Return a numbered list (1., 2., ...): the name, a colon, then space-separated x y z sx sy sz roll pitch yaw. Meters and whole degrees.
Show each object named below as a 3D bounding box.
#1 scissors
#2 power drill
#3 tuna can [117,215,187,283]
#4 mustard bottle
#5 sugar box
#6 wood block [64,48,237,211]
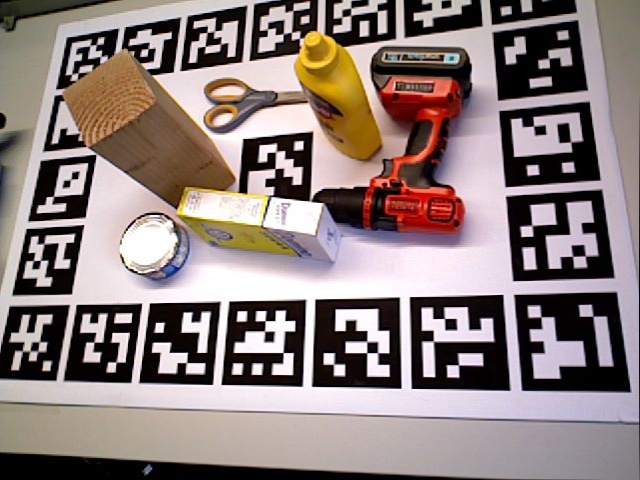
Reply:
1. scissors: -0.092 -0.191 0.737 0.203 0.016 0.087 -2 69 16
2. power drill: 0.082 -0.102 0.638 0.185 0.057 0.187 10 83 19
3. tuna can: -0.216 0.011 0.699 0.086 0.034 0.085 -5 73 14
4. mustard bottle: 0.023 -0.166 0.611 0.058 0.192 0.096 -42 68 -1
5. sugar box: -0.061 -0.015 0.636 0.177 0.093 0.045 9 71 16
6. wood block: -0.192 -0.117 0.652 0.091 0.207 0.089 -31 68 3
